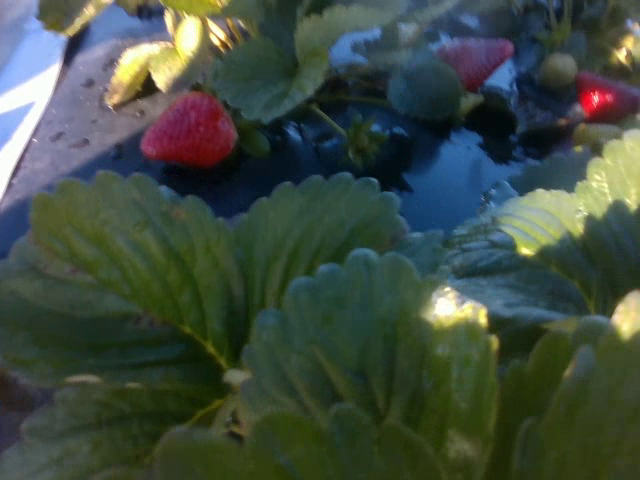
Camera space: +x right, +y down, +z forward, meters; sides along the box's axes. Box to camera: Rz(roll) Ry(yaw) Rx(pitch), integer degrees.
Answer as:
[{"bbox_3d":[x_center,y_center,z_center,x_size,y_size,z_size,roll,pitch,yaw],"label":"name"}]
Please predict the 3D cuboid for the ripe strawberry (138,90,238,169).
[{"bbox_3d":[-0.067,-0.053,0.302,0.045,0.042,0.058,0,35,49],"label":"ripe strawberry"}]
